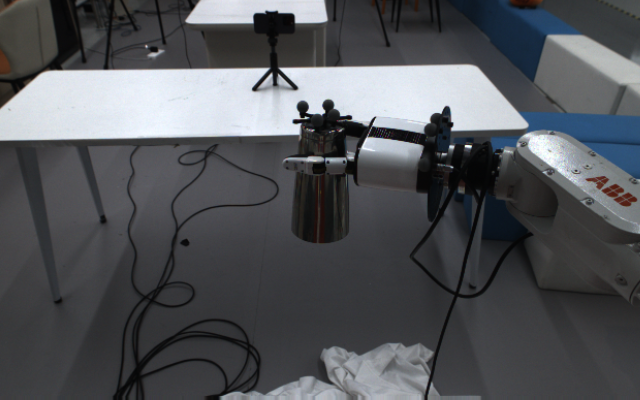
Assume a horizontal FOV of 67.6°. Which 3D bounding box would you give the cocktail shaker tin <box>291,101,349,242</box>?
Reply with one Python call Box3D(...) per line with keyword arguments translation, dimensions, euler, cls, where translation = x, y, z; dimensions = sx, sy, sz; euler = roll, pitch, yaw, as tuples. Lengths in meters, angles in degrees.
Box3D(translation=(0.004, -0.034, 0.732), dimensions=(0.093, 0.170, 0.093), euler=(1, 27, -1), cls="cocktail shaker tin")
